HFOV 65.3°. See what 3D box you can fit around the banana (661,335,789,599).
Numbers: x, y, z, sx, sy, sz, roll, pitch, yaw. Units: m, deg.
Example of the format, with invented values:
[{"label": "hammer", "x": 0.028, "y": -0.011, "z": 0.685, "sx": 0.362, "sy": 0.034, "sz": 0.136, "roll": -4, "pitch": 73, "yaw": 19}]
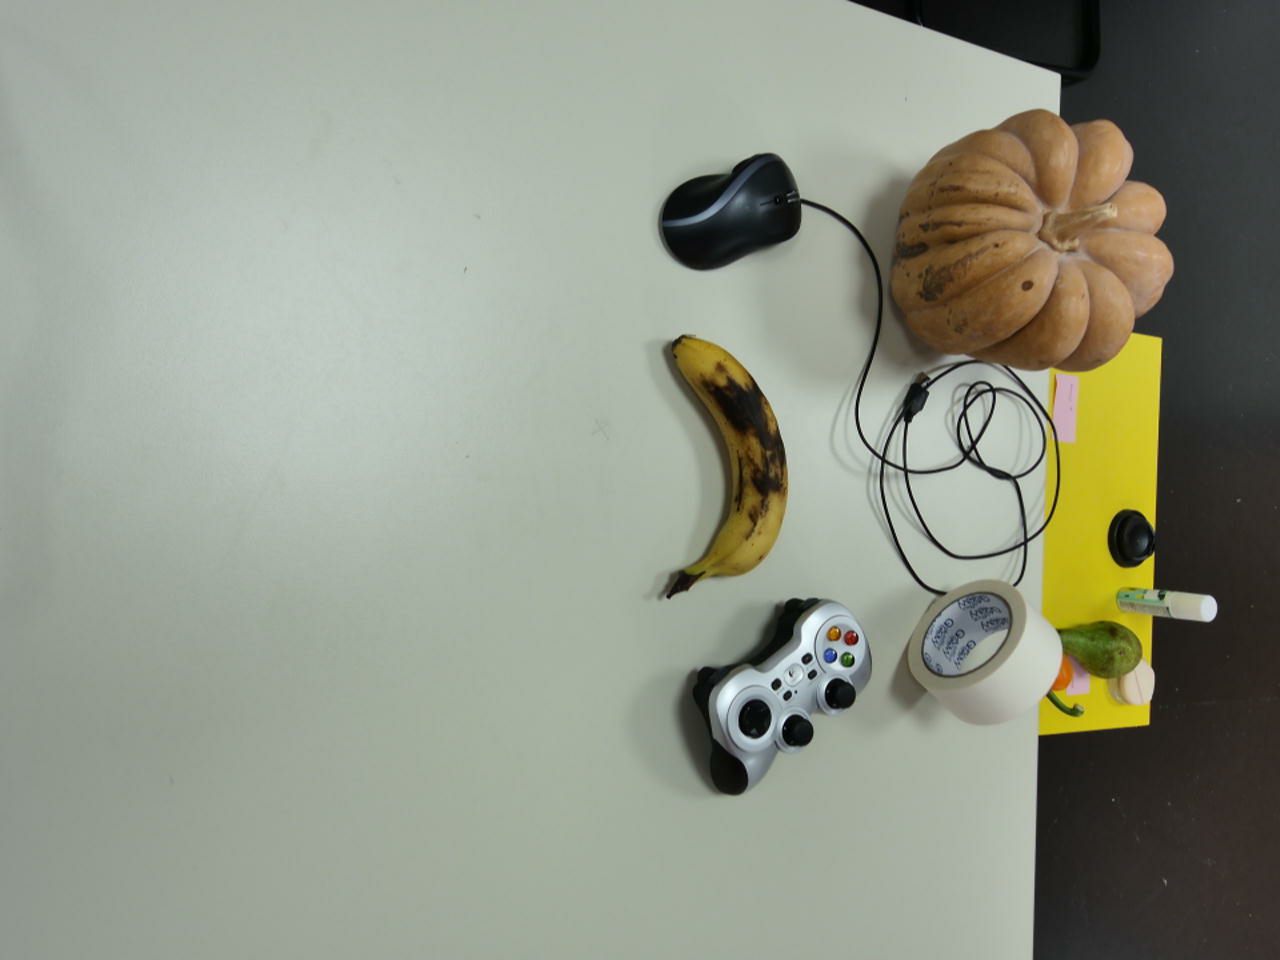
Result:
[{"label": "banana", "x": 0.064, "y": -0.009, "z": 0.722, "sx": 0.094, "sy": 0.039, "sz": 0.187, "roll": 3, "pitch": 89, "yaw": -28}]
